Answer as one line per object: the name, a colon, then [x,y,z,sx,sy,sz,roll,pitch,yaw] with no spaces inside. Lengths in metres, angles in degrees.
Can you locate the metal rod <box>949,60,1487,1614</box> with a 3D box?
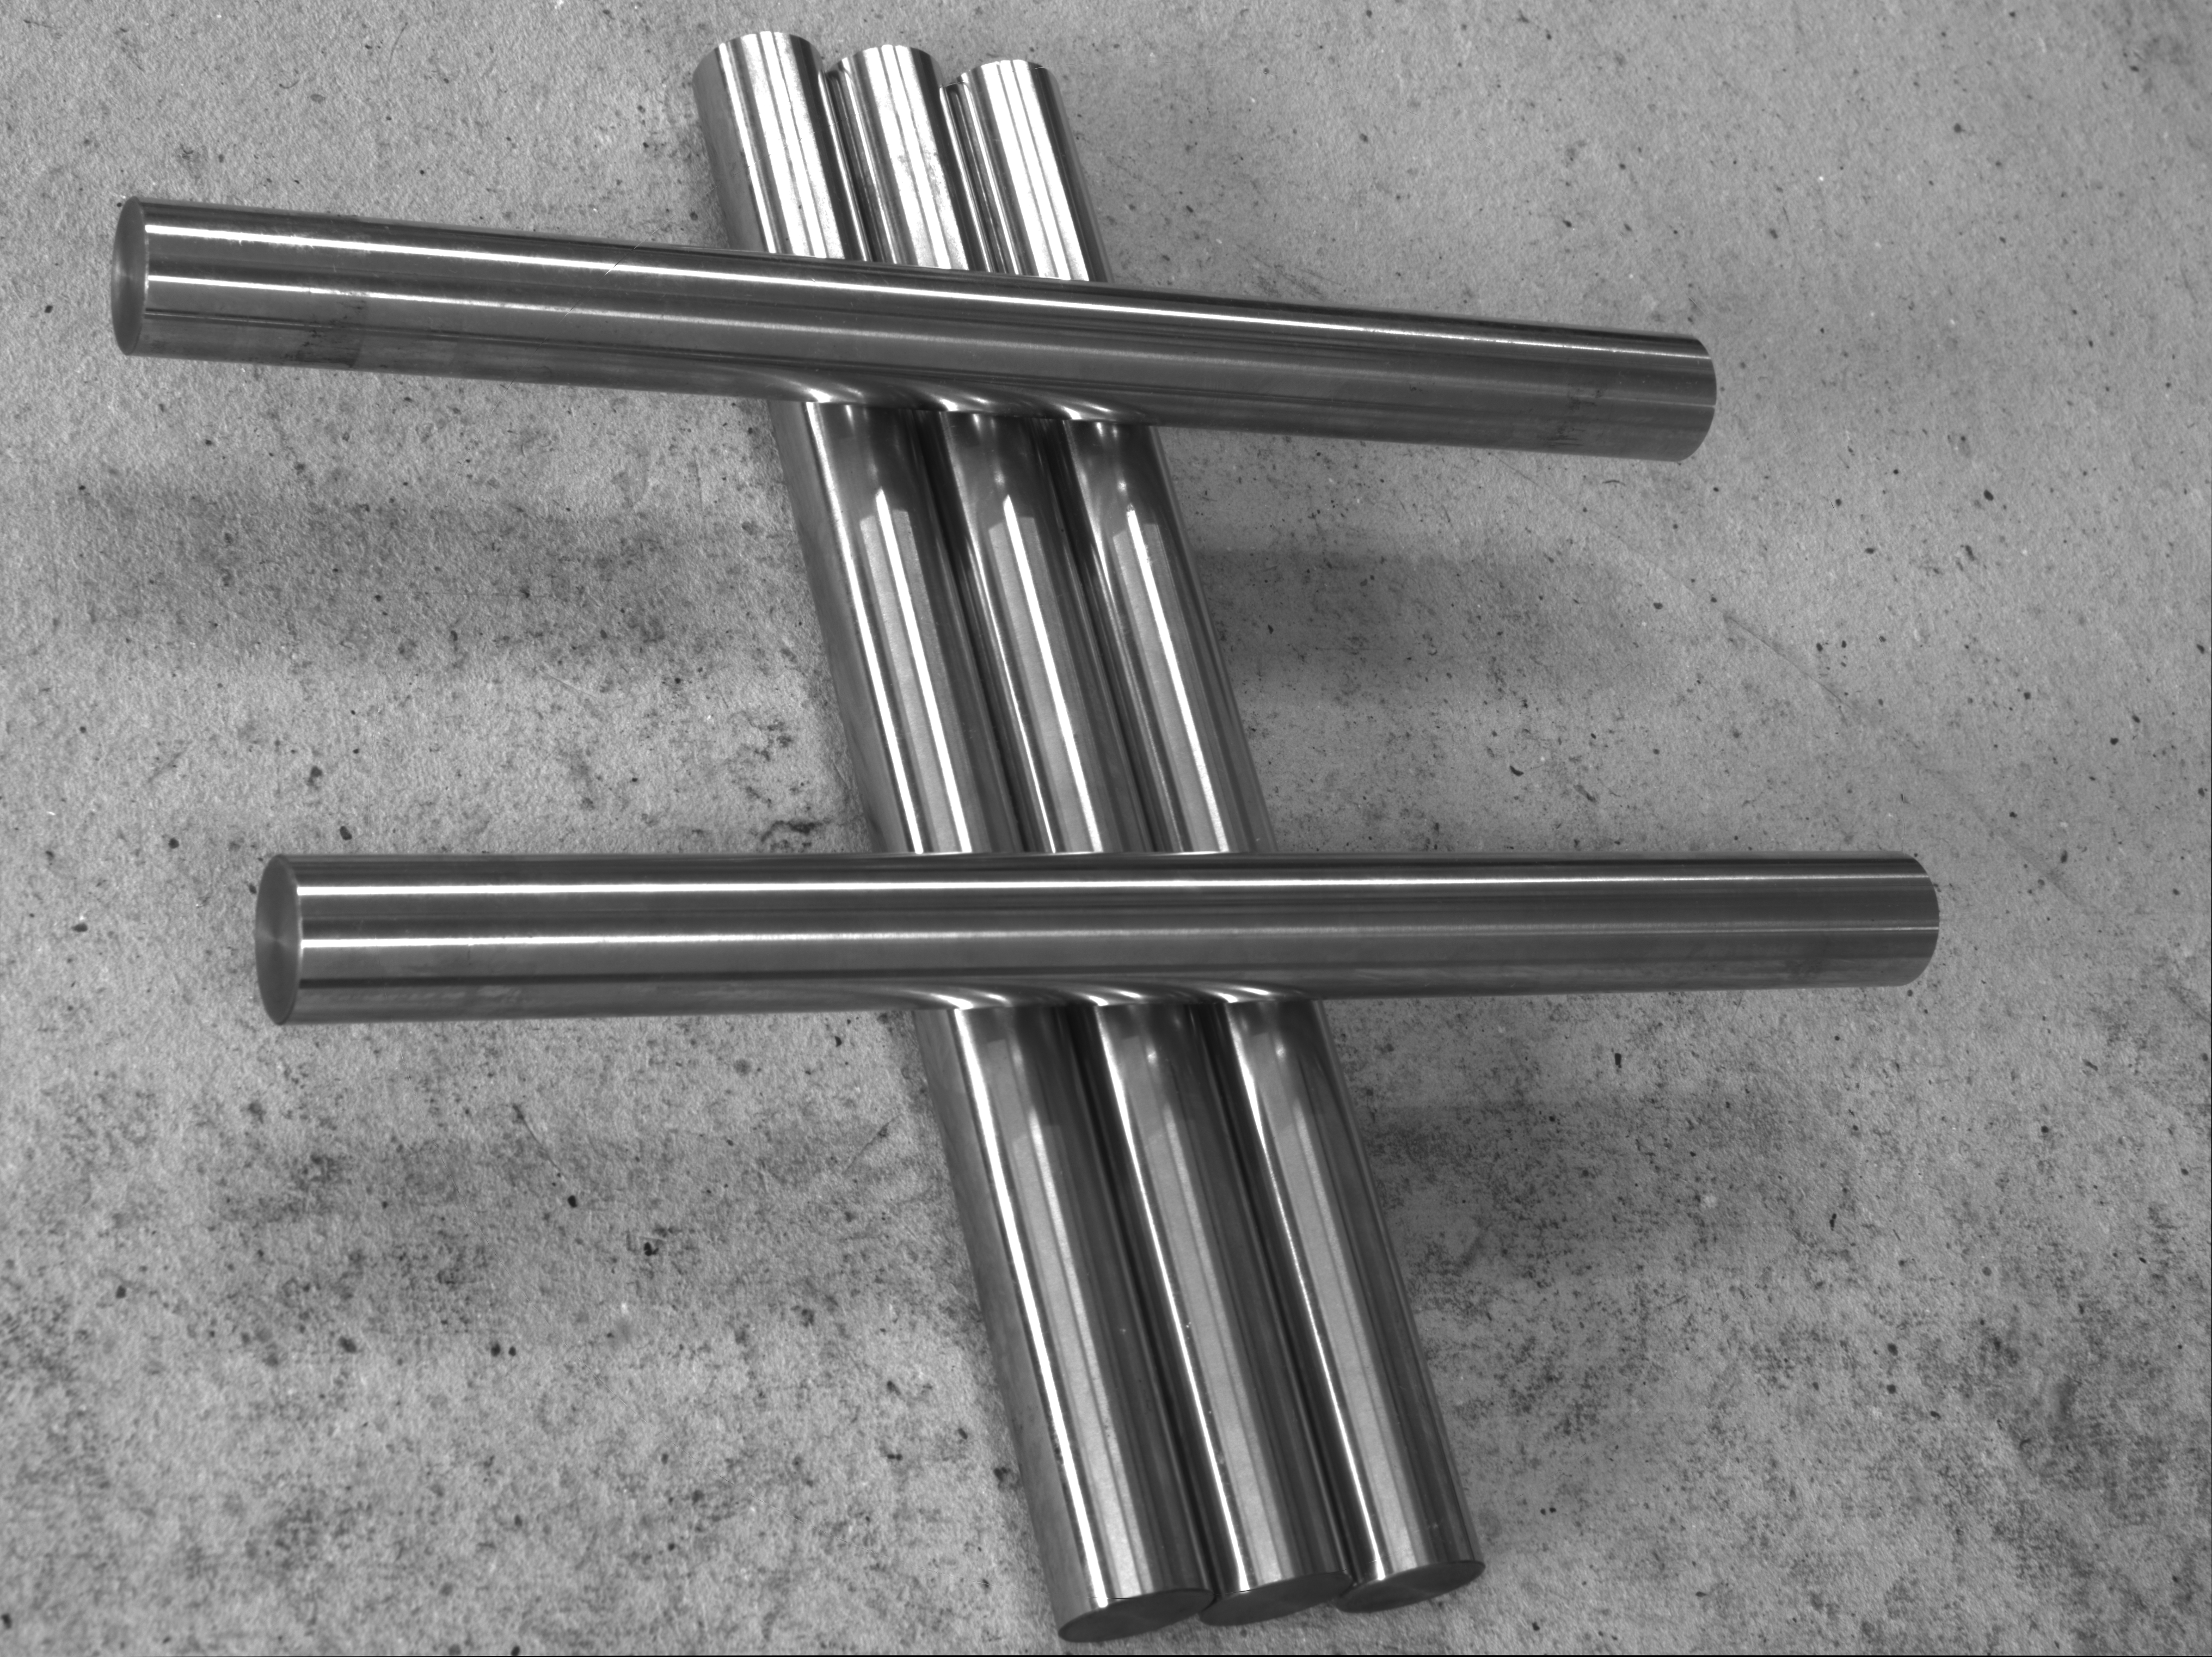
metal rod: [0.014,-0.010,0.652,0.025,0.025,0.300,-1,62,-28]

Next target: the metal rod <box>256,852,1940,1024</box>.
metal rod: [0.013,0.016,0.603,0.301,0.025,0.025,0,62,-28]

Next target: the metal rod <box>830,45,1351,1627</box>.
metal rod: [-0.009,-0.010,0.640,0.025,0.025,0.300,-1,62,-28]

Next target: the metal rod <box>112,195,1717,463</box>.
metal rod: [-0.021,-0.086,0.648,0.301,0.025,0.025,1,61,-28]

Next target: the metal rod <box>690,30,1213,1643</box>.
metal rod: [-0.031,-0.010,0.628,0.025,0.025,0.300,-1,62,-28]
